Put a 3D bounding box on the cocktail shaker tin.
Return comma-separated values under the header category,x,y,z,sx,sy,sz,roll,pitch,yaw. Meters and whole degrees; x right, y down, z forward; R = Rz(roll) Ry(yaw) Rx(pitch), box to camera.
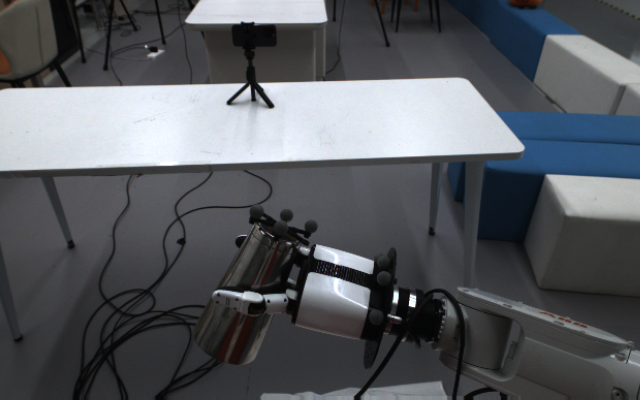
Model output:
category,x,y,z,sx,sy,sz,roll,pitch,yaw
cocktail shaker tin,-0.087,0.113,0.628,0.093,0.170,0.093,24,13,-6
